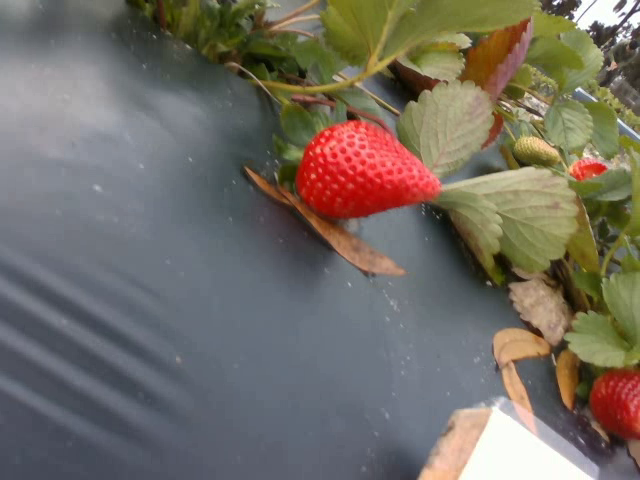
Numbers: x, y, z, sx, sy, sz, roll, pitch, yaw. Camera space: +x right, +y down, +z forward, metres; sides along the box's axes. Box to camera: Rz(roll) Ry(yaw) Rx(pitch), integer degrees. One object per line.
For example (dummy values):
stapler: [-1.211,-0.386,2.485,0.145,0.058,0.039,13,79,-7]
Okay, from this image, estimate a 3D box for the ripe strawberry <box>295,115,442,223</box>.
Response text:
ripe strawberry: [0.022,-0.025,0.232,0.065,0.043,0.047,18,57,42]
